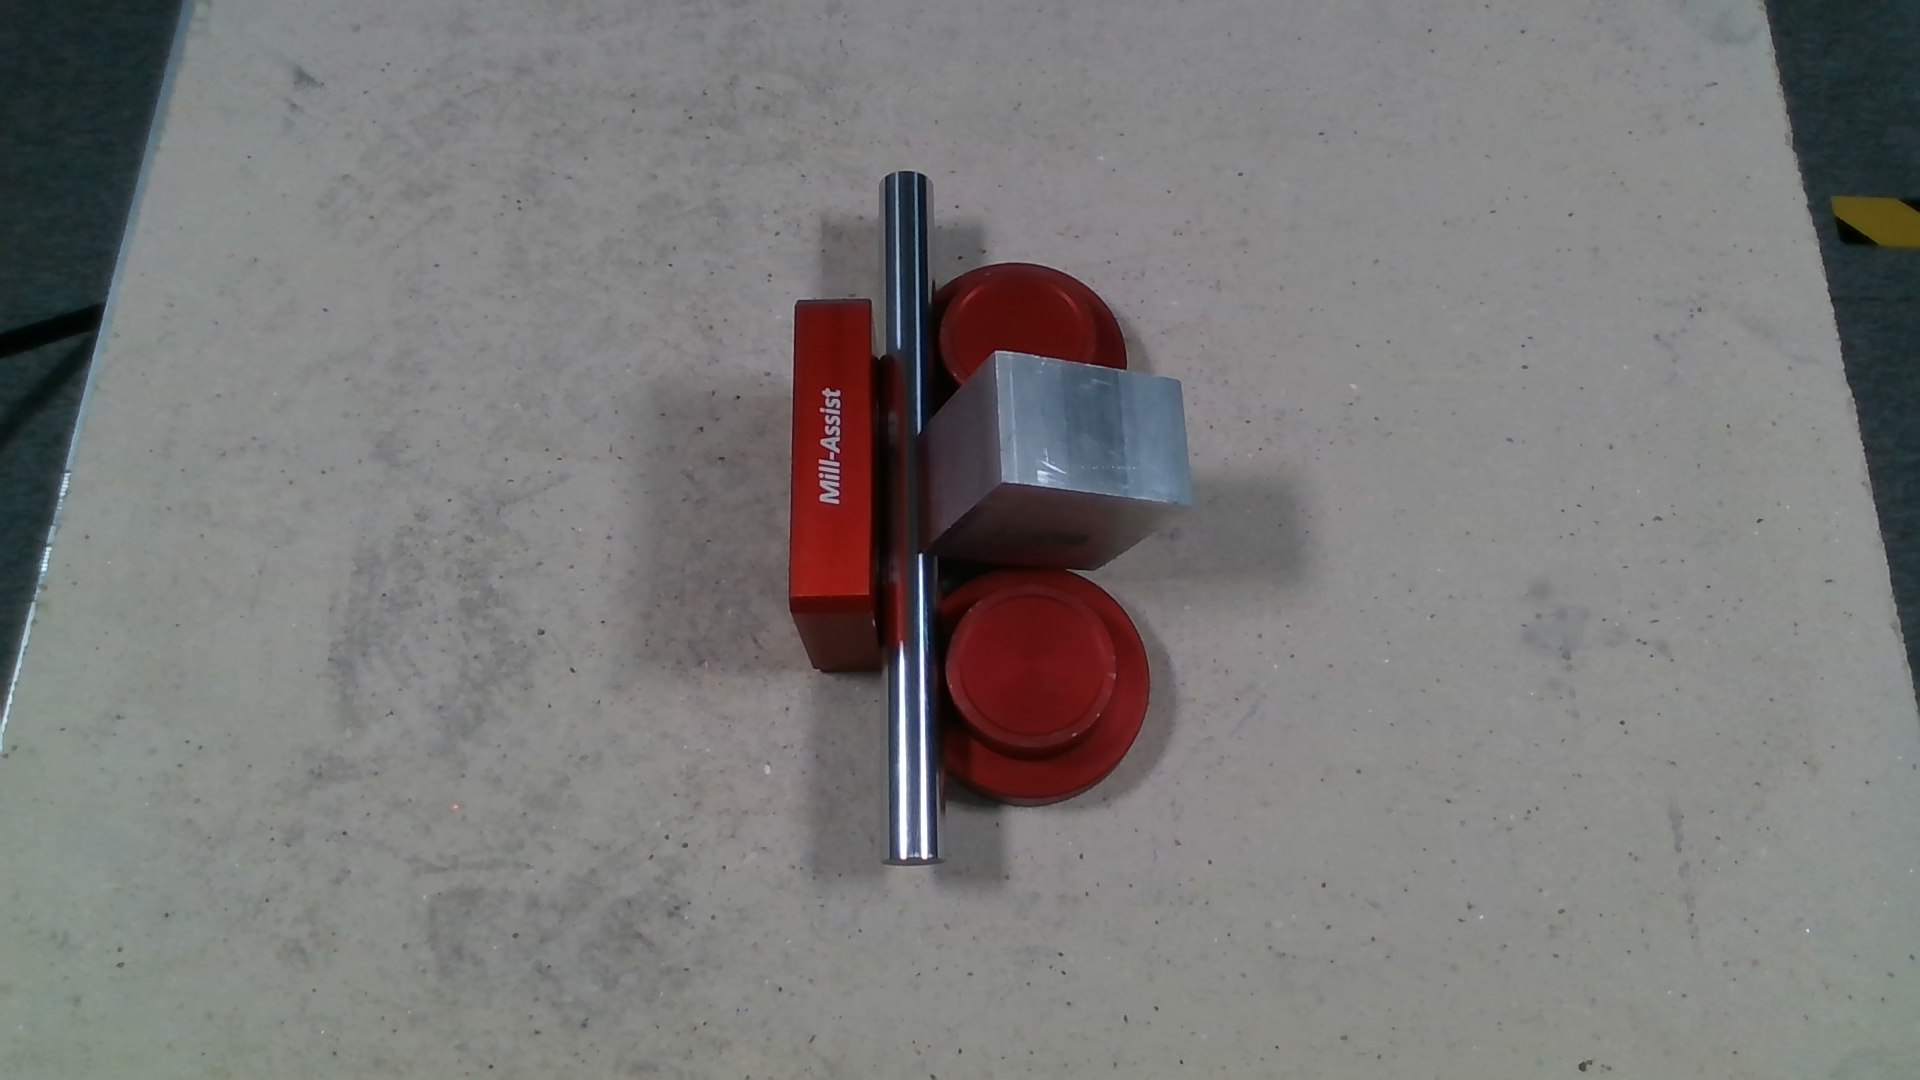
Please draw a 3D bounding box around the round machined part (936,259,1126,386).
[{"bbox_3d":[0.024,-0.082,0.606,0.098,0.042,0.098,0,70,0],"label":"round machined part"}]

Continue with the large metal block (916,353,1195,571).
[{"bbox_3d":[0.034,-0.027,0.540,0.080,0.080,0.050,6,69,-23],"label":"large metal block"}]

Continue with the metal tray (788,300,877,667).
[{"bbox_3d":[-0.049,-0.021,0.561,0.030,0.090,0.130,-1,70,0],"label":"metal tray"}]

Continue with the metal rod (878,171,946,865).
[{"bbox_3d":[-0.021,-0.019,0.573,0.025,0.025,0.299,-1,70,0],"label":"metal rod"}]

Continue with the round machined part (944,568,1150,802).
[{"bbox_3d":[0.028,0.055,0.559,0.098,0.042,0.098,0,70,0],"label":"round machined part"}]
